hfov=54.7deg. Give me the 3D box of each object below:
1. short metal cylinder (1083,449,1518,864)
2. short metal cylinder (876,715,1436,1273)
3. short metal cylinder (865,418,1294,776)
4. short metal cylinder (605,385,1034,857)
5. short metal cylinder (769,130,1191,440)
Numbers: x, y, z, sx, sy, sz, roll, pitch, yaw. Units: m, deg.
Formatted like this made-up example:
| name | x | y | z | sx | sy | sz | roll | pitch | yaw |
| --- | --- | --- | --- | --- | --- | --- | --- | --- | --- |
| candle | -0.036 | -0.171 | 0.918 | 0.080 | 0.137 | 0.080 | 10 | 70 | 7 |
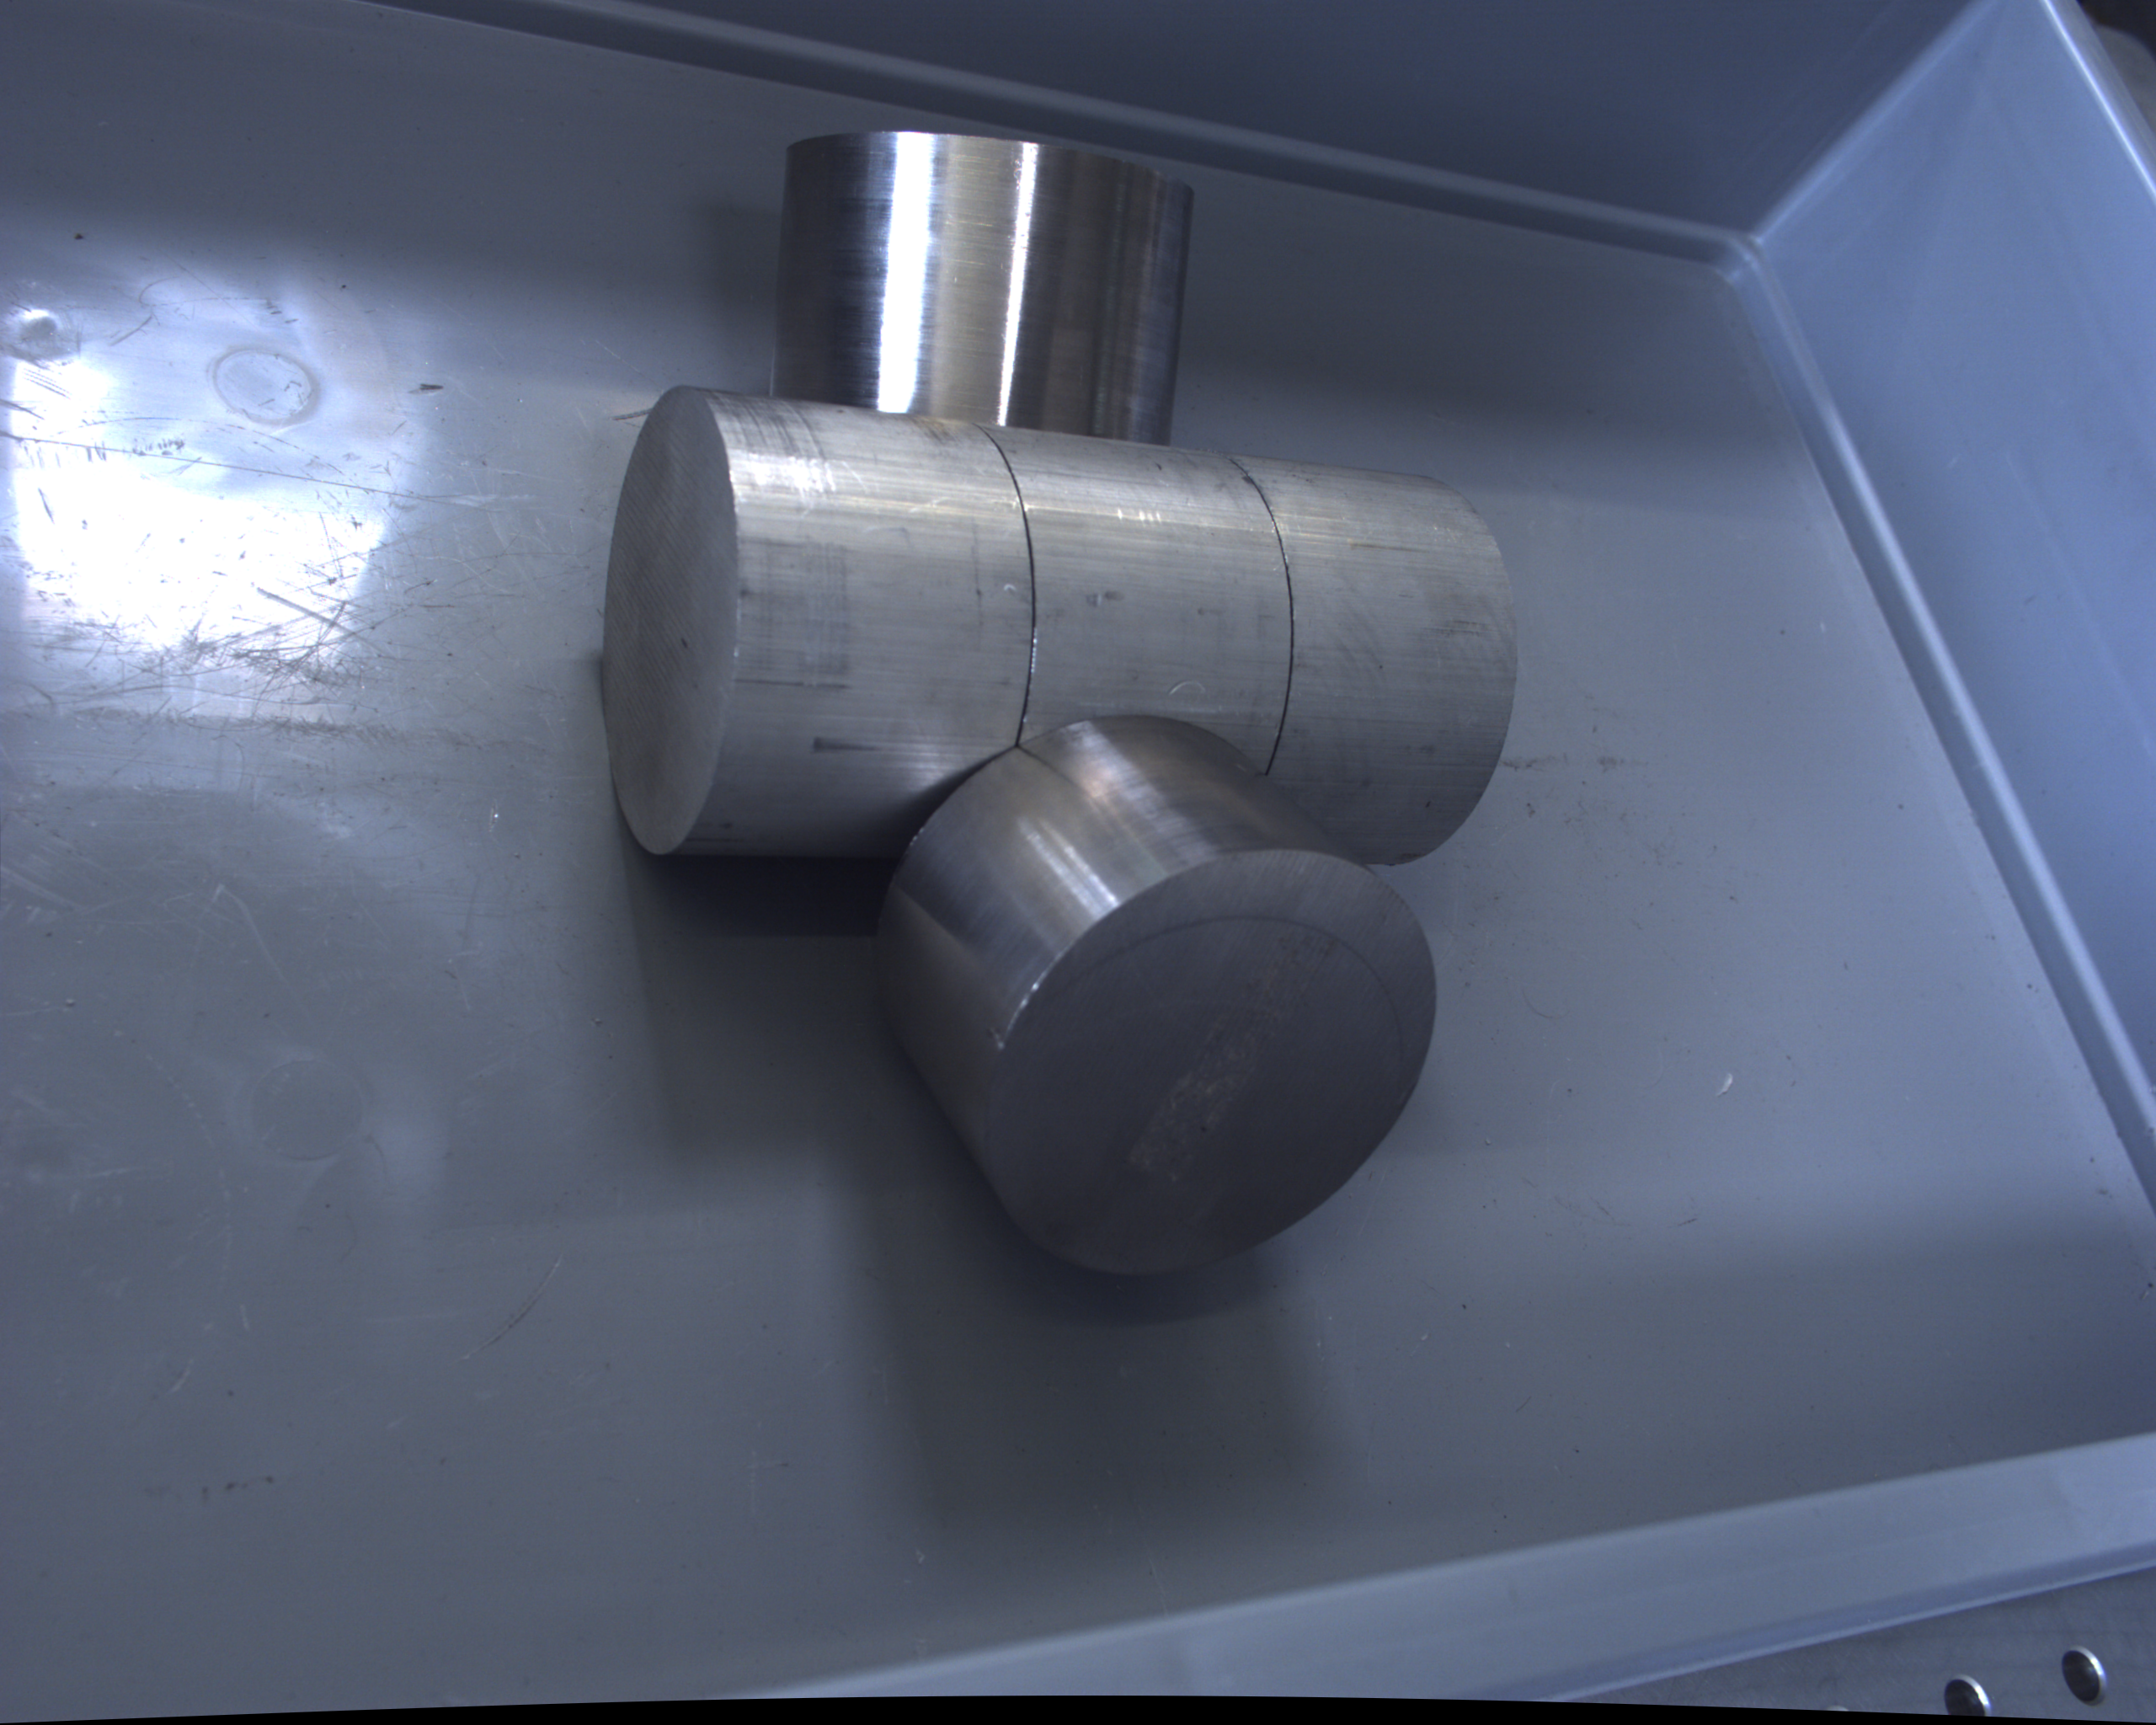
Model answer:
| name | x | y | z | sx | sy | sz | roll | pitch | yaw |
| --- | --- | --- | --- | --- | --- | --- | --- | --- | --- |
| short metal cylinder | 0.042 | -0.040 | 0.415 | 0.050 | 0.080 | 0.080 | 1 | 61 | -27 |
| short metal cylinder | 0.012 | 0.022 | 0.352 | 0.081 | 0.079 | 0.050 | 0 | 28 | -28 |
| short metal cylinder | -0.003 | -0.040 | 0.391 | 0.050 | 0.080 | 0.080 | 1 | 61 | -27 |
| short metal cylinder | -0.048 | -0.041 | 0.367 | 0.050 | 0.080 | 0.080 | 1 | 61 | -27 |
| short metal cylinder | -0.020 | -0.111 | 0.416 | 0.081 | 0.080 | 0.050 | 2 | 99 | -27 |
